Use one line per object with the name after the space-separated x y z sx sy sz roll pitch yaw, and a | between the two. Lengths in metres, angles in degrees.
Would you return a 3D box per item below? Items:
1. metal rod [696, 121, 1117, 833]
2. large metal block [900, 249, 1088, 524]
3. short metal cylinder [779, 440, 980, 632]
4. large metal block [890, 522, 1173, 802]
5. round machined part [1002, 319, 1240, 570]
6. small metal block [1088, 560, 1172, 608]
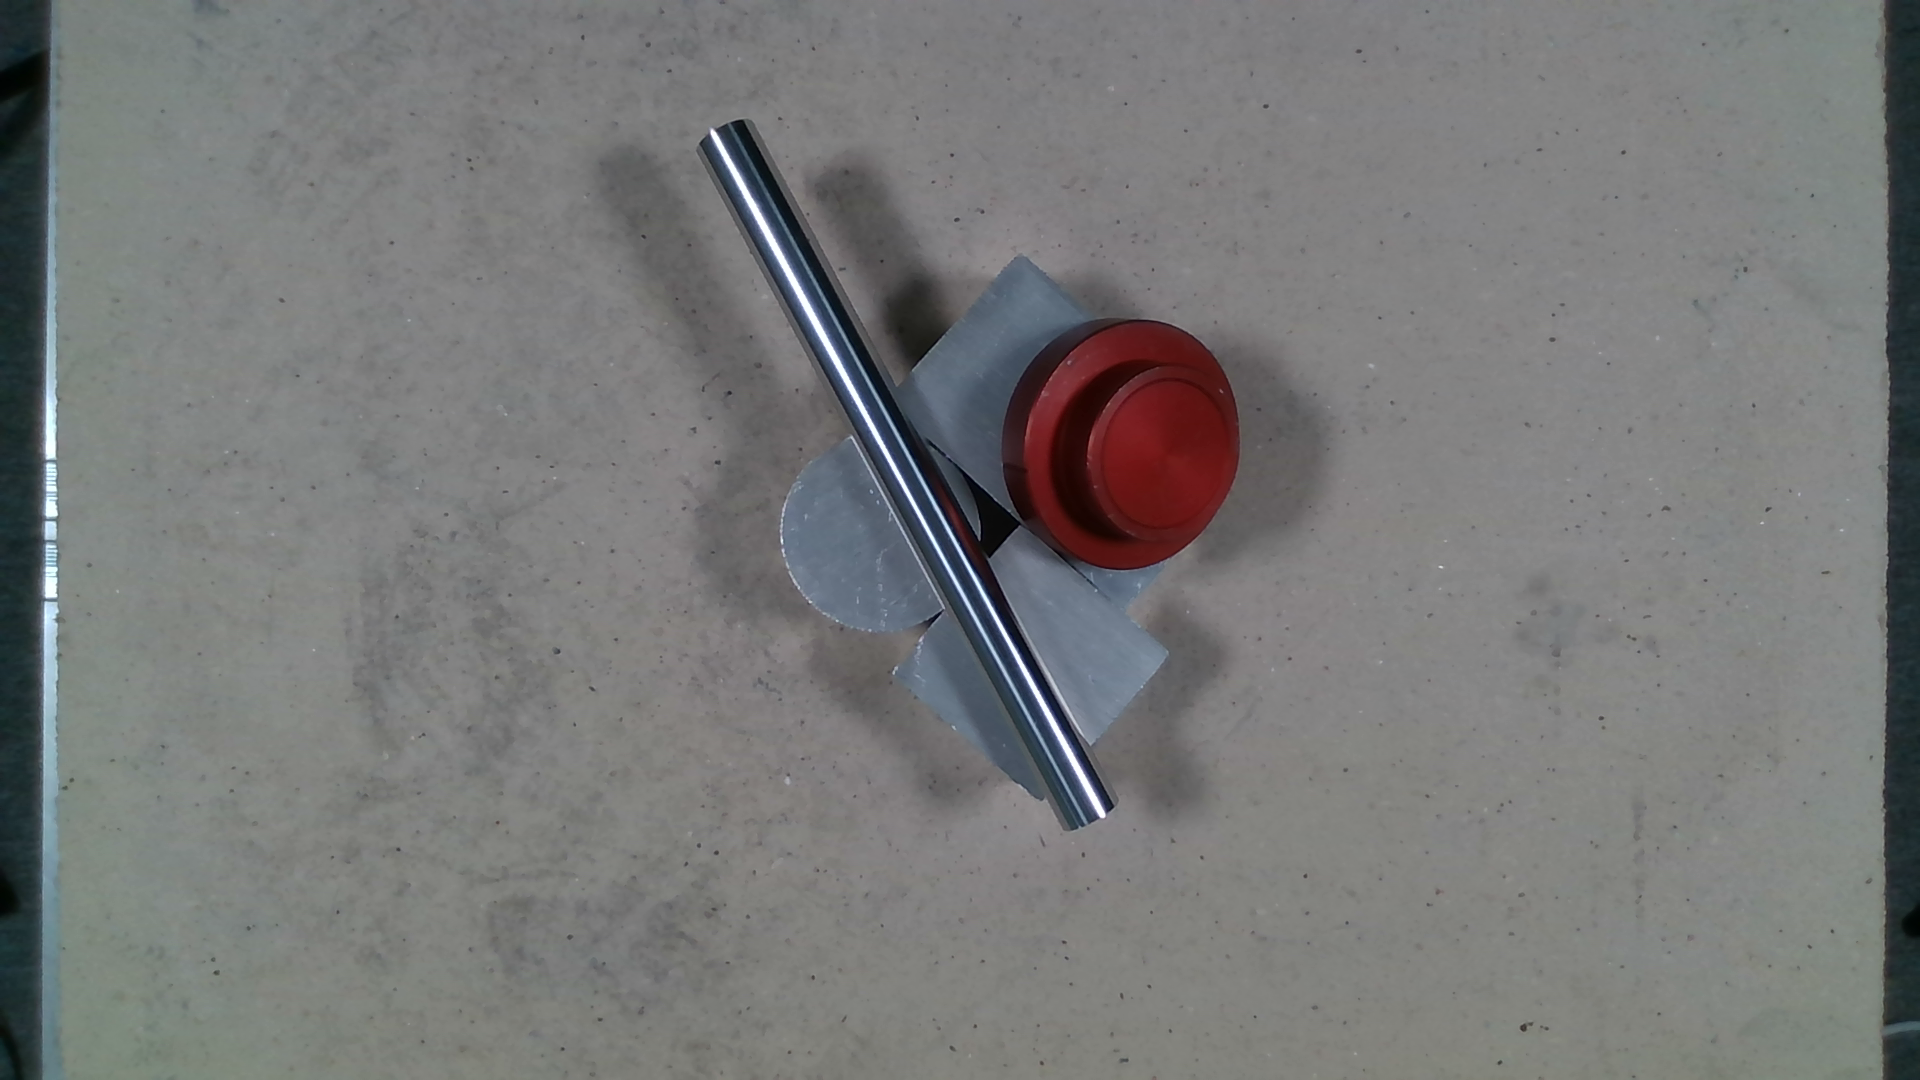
-0.020 -0.024 0.537 0.025 0.025 0.300 -28 90 0 | metal rod
0.027 -0.059 0.573 0.080 0.050 0.080 42 90 0 | large metal block
-0.032 -0.003 0.574 0.080 0.050 0.080 0 90 0 | short metal cylinder
0.029 0.049 0.575 0.080 0.050 0.080 41 90 0 | large metal block
0.069 -0.036 0.534 0.098 0.042 0.098 -6 104 -25 | round machined part
0.067 -0.005 0.586 0.050 0.025 0.050 43 90 0 | small metal block
